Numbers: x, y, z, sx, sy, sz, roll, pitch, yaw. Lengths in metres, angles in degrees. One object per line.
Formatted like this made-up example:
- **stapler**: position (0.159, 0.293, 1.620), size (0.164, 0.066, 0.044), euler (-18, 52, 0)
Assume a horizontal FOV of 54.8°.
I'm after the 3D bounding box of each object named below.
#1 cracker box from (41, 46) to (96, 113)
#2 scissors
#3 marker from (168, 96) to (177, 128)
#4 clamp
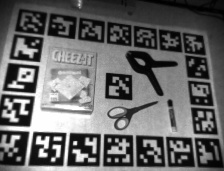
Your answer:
- **cracker box**: position (-0.139, -0.021, 0.738), size (0.165, 0.072, 0.213), euler (6, 69, -10)
- **scissors**: position (0.084, 0.081, 0.777), size (0.204, 0.016, 0.087), euler (-24, 76, -21)
- **marker**: position (0.224, 0.097, 0.801), size (0.020, 0.019, 0.120), euler (1, 70, -11)
- **clamp**: position (0.136, -0.089, 0.854), size (0.203, 0.036, 0.166), euler (33, 66, 0)
